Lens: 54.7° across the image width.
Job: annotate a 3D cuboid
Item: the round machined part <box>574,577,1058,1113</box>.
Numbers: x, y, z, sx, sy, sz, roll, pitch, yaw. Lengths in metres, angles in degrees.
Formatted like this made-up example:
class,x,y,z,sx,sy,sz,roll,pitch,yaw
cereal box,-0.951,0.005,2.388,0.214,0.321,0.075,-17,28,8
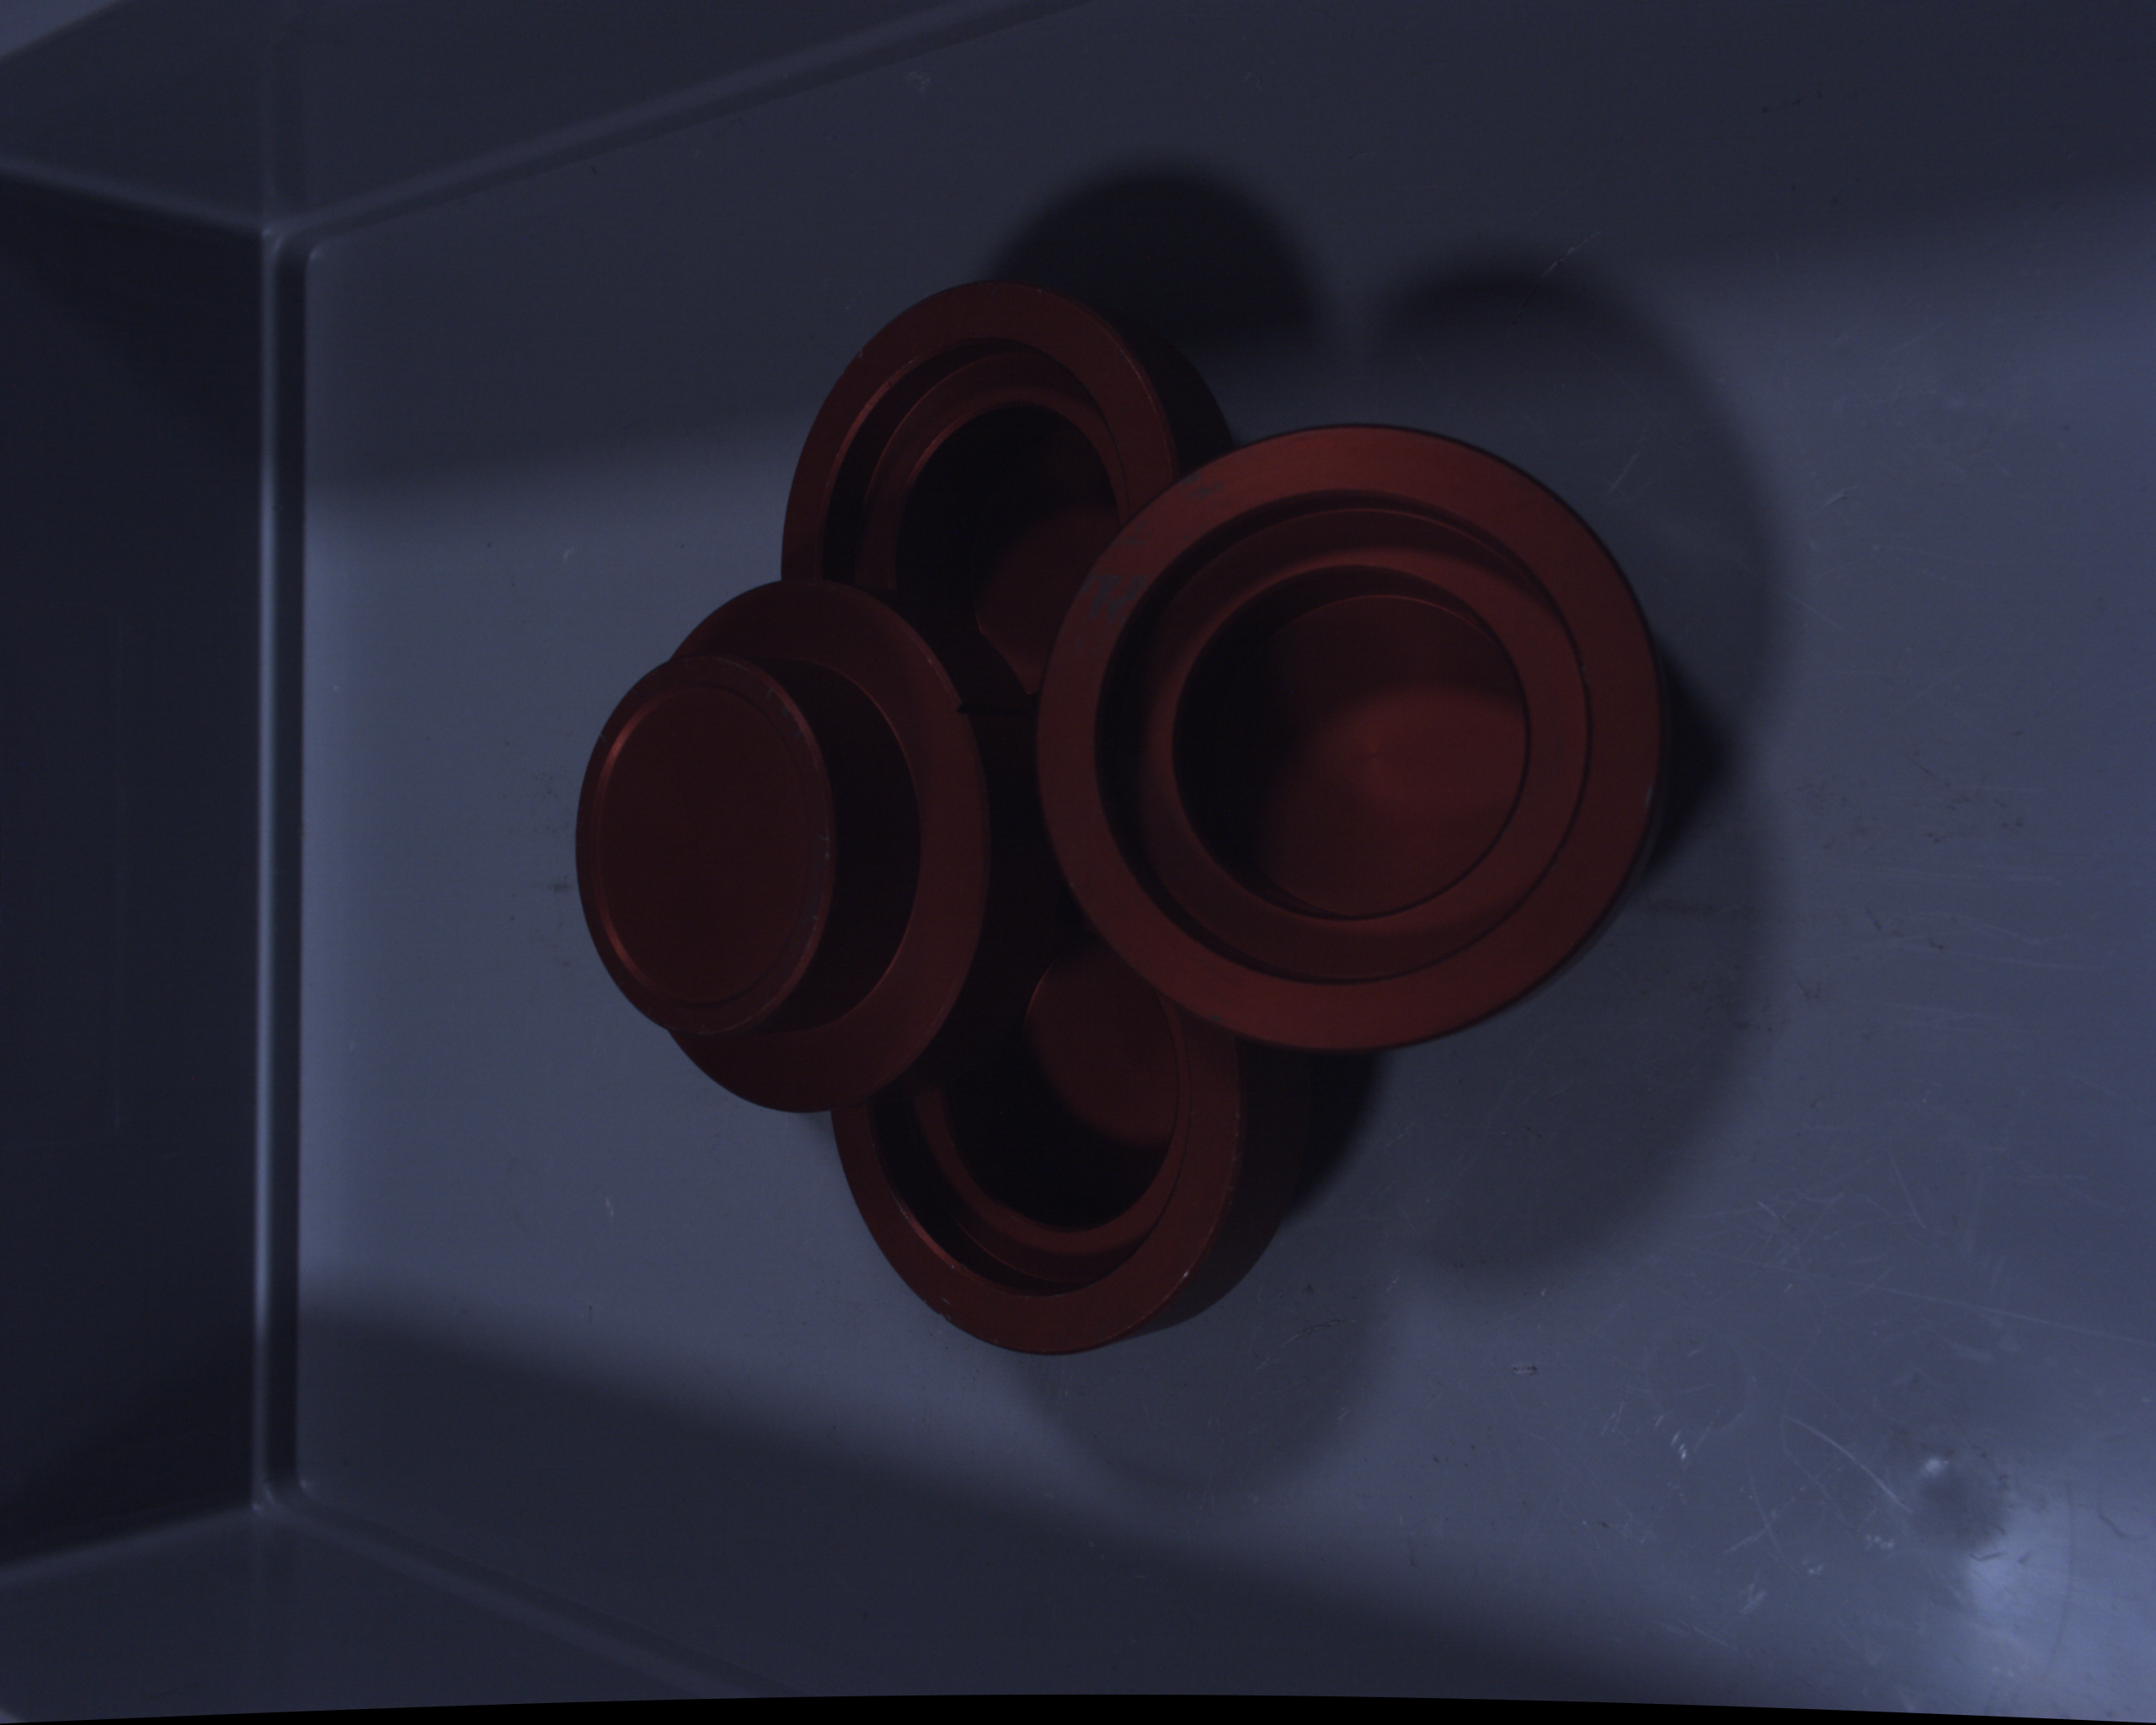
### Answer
class,x,y,z,sx,sy,sz,roll,pitch,yaw
round machined part,-0.054,-0.003,0.379,0.098,0.042,0.097,0,90,39

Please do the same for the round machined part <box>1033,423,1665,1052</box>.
class,x,y,z,sx,sy,sz,roll,pitch,yaw
round machined part,0.046,-0.019,0.340,0.098,0.042,0.097,-1,87,19

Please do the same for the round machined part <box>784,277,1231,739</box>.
class,x,y,z,sx,sy,sz,roll,pitch,yaw
round machined part,-0.008,-0.058,0.398,0.098,0.042,0.097,0,90,39

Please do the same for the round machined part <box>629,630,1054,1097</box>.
class,x,y,z,sx,sy,sz,roll,pitch,yaw
round machined part,-0.056,0.000,0.435,0.098,0.042,0.097,0,90,39

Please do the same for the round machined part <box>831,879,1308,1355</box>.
class,x,y,z,sx,sy,sz,roll,pitch,yaw
round machined part,0.002,0.039,0.390,0.098,0.042,0.097,0,90,39
